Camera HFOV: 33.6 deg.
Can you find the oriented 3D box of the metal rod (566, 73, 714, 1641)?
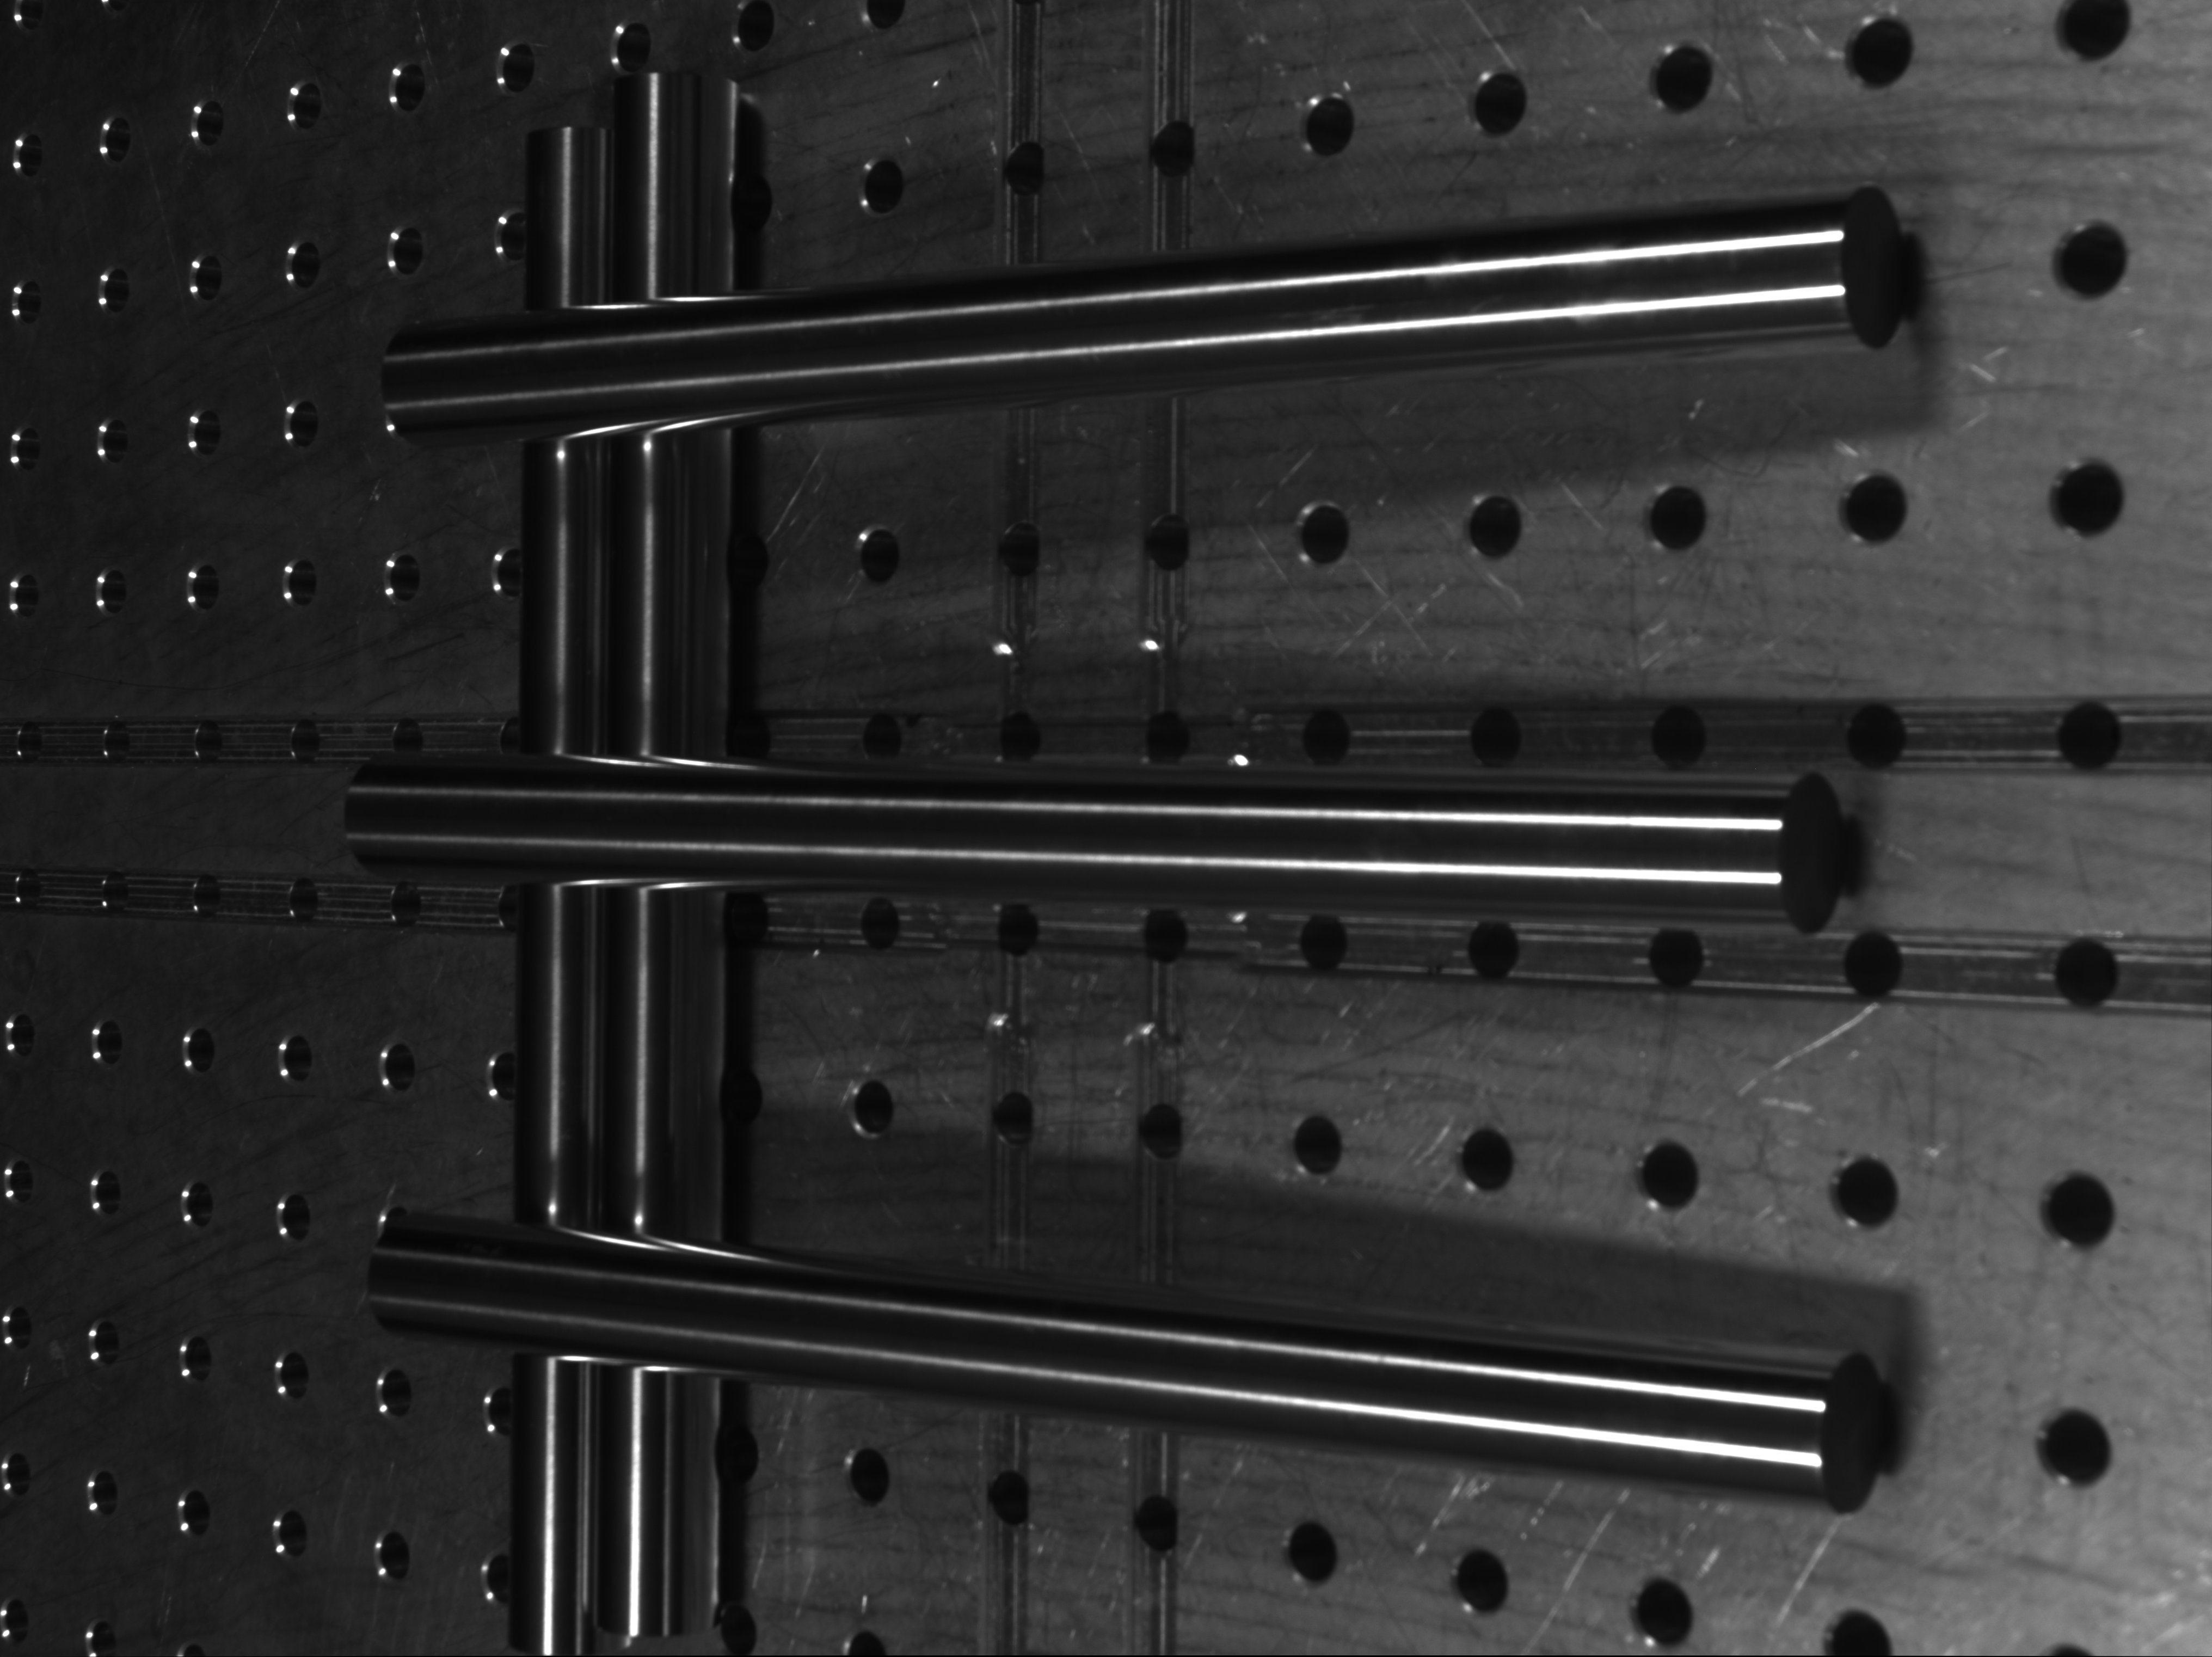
[{"bbox_3d":[-0.091,0.006,0.713,0.025,0.025,0.300,1,91,39],"label":"metal rod"}]

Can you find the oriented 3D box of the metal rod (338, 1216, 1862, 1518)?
[{"bbox_3d":[-0.016,0.090,0.633,0.299,0.025,0.025,1,90,33],"label":"metal rod"}]

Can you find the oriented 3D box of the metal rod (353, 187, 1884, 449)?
[{"bbox_3d":[-0.013,-0.085,0.632,0.299,0.025,0.025,1,90,33],"label":"metal rod"}]

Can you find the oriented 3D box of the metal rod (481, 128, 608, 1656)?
[{"bbox_3d":[-0.110,0.013,0.729,0.025,0.025,0.300,1,91,39],"label":"metal rod"}]

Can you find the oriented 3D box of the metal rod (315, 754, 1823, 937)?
[{"bbox_3d":[-0.021,0.001,0.637,0.299,0.025,0.025,1,91,33],"label":"metal rod"}]
